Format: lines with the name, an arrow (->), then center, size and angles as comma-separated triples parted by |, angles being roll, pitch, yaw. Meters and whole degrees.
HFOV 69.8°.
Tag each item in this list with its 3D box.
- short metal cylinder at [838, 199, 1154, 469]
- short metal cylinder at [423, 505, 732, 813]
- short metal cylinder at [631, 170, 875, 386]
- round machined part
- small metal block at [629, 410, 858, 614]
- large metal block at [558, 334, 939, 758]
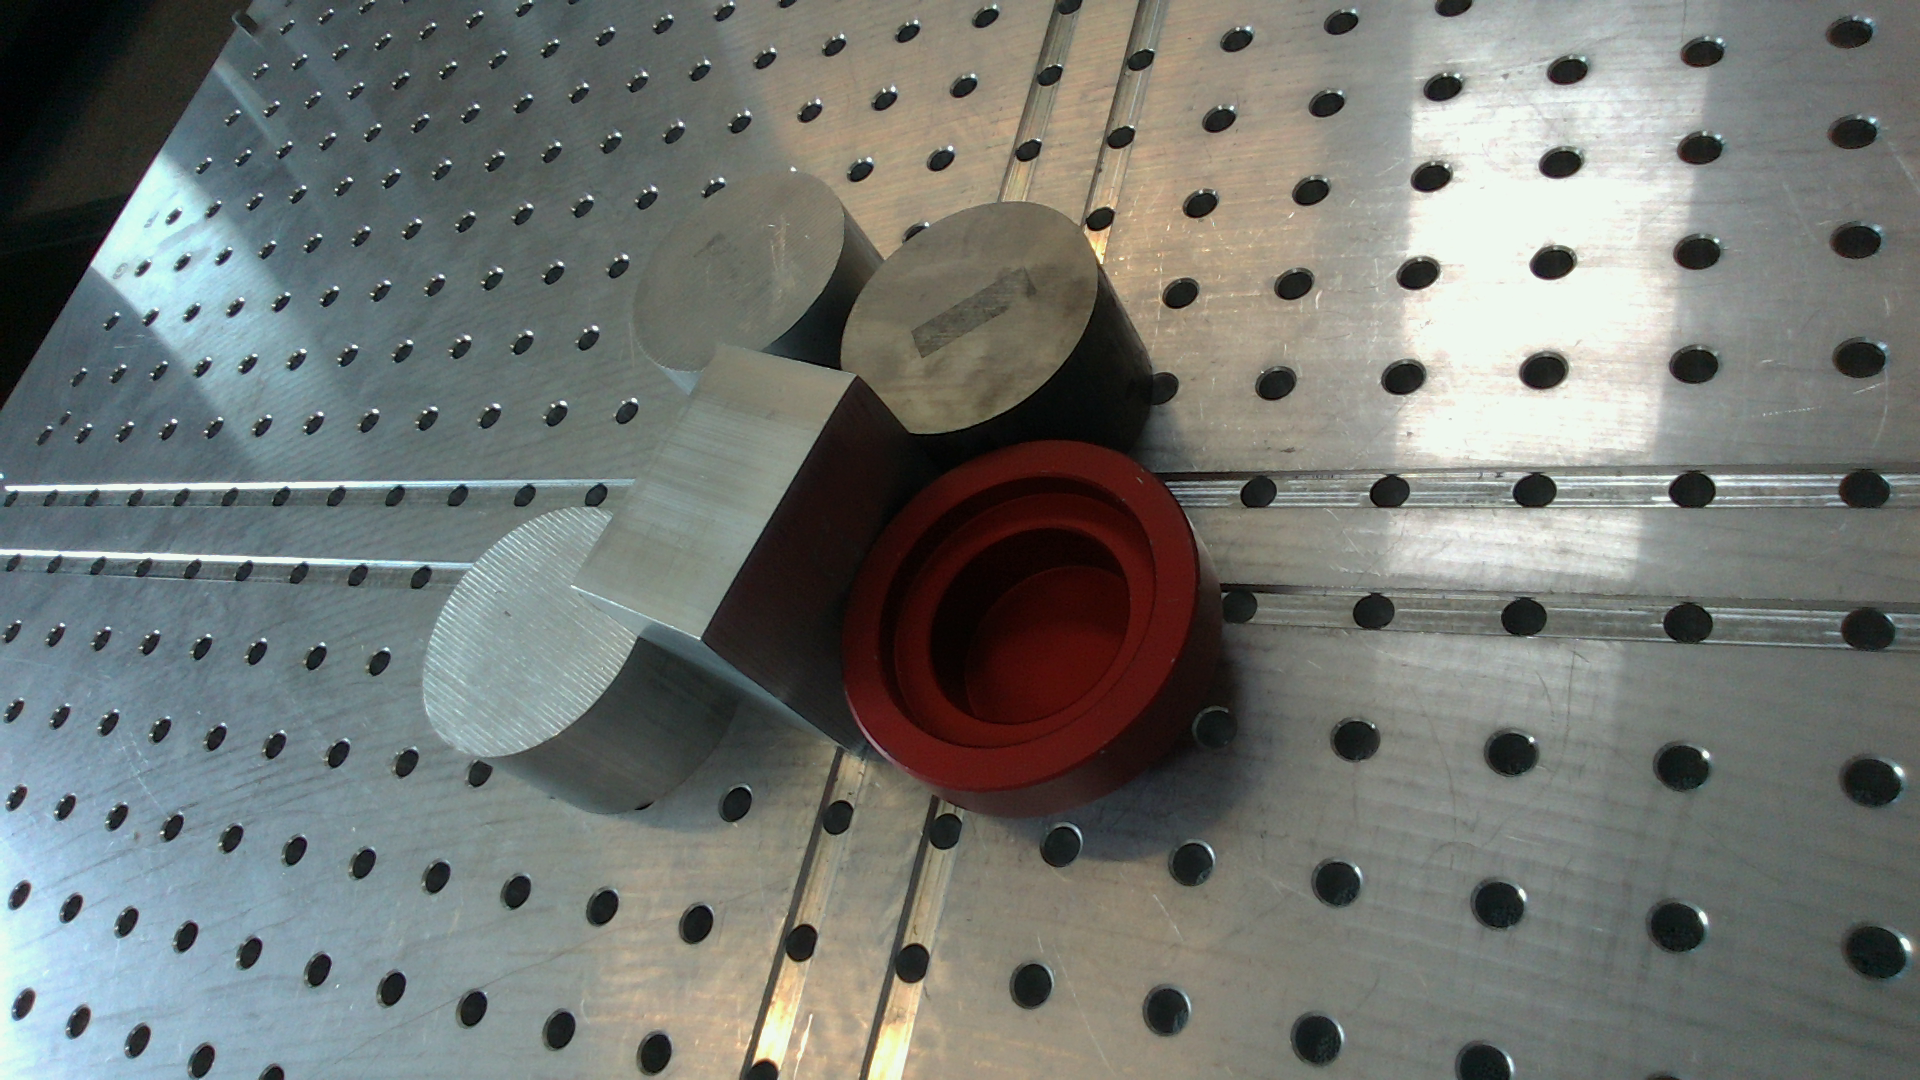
short metal cylinder -> 0.011, -0.053, 0.407 | 0.080, 0.050, 0.080 | -13, 56, 21
short metal cylinder -> -0.114, 0.036, 0.419 | 0.080, 0.050, 0.080 | -13, 56, 21
short metal cylinder -> -0.062, -0.076, 0.460 | 0.080, 0.050, 0.080 | -13, 56, 21
round machined part -> 0.021, 0.026, 0.359 | 0.098, 0.042, 0.098 | -13, 56, 21
small metal block -> -0.069, -0.010, 0.440 | 0.050, 0.025, 0.050 | 16, 70, 35
large metal block -> -0.049, 0.003, 0.382 | 0.050, 0.080, 0.080 | 17, 70, 35
